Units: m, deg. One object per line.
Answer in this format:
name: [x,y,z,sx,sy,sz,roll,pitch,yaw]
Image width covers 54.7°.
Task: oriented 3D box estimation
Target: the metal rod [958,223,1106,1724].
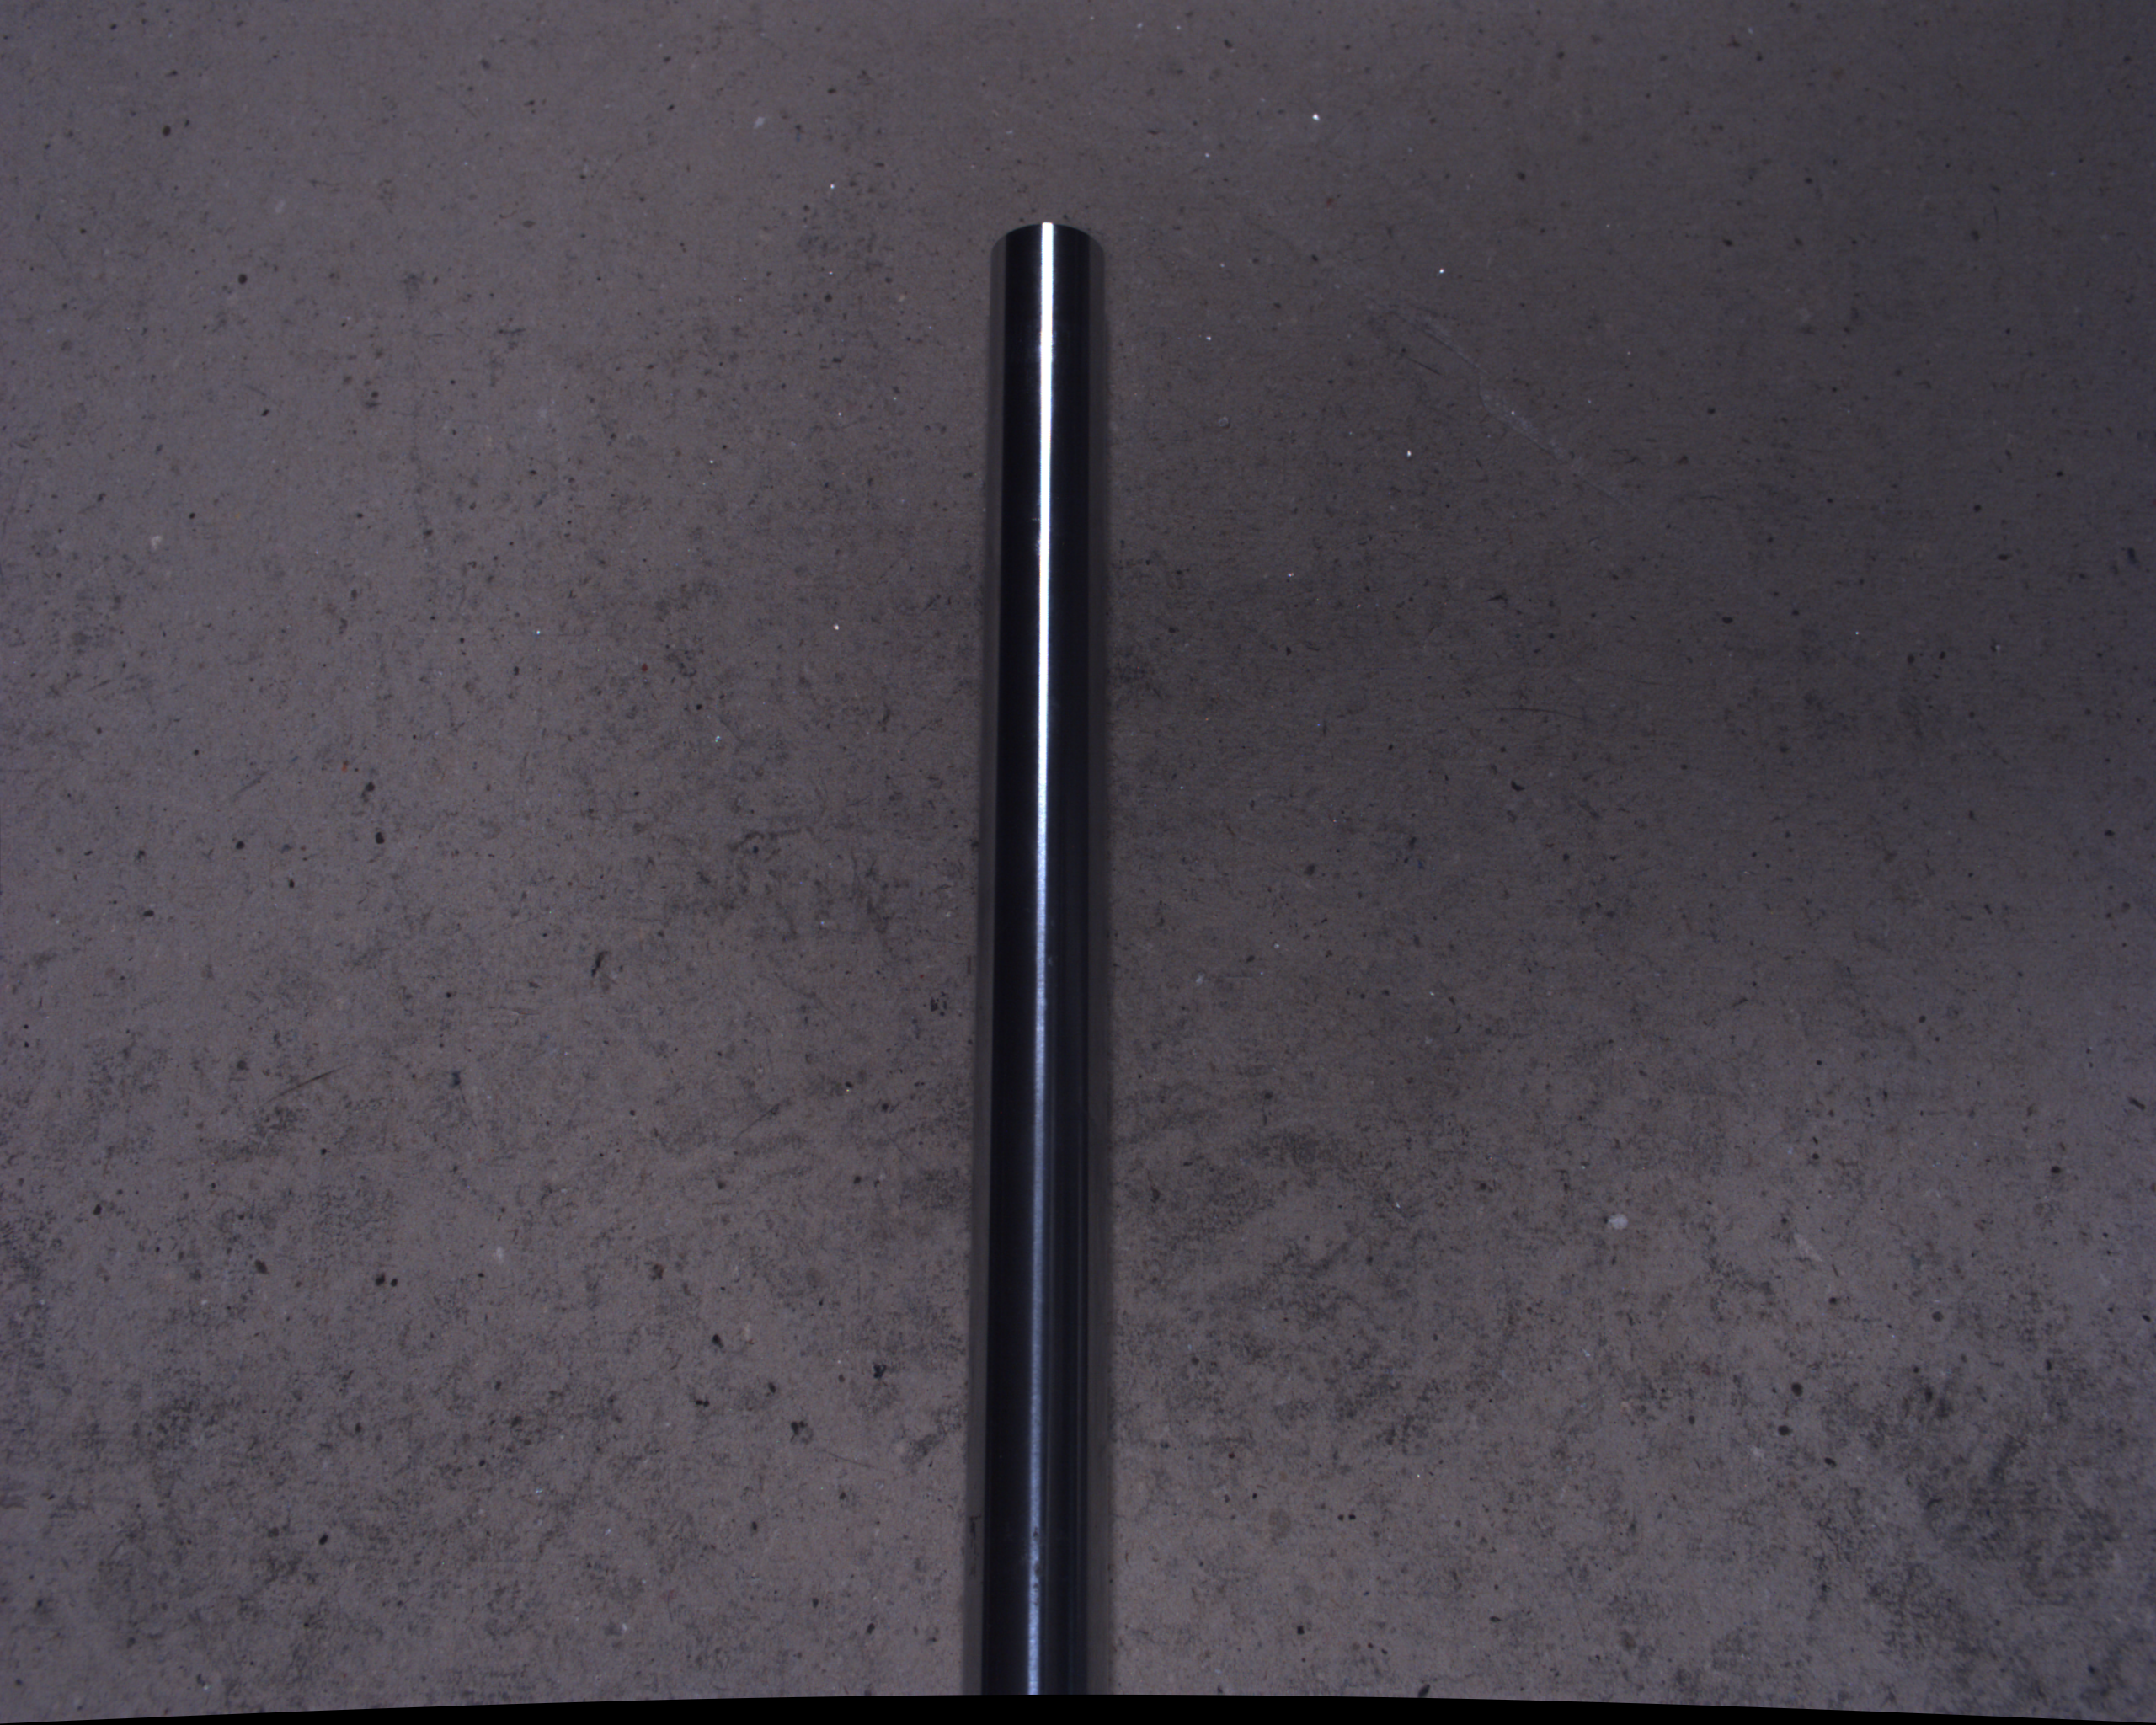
metal rod: [-0.007,0.008,0.406,0.025,0.025,0.299,0,70,0]
